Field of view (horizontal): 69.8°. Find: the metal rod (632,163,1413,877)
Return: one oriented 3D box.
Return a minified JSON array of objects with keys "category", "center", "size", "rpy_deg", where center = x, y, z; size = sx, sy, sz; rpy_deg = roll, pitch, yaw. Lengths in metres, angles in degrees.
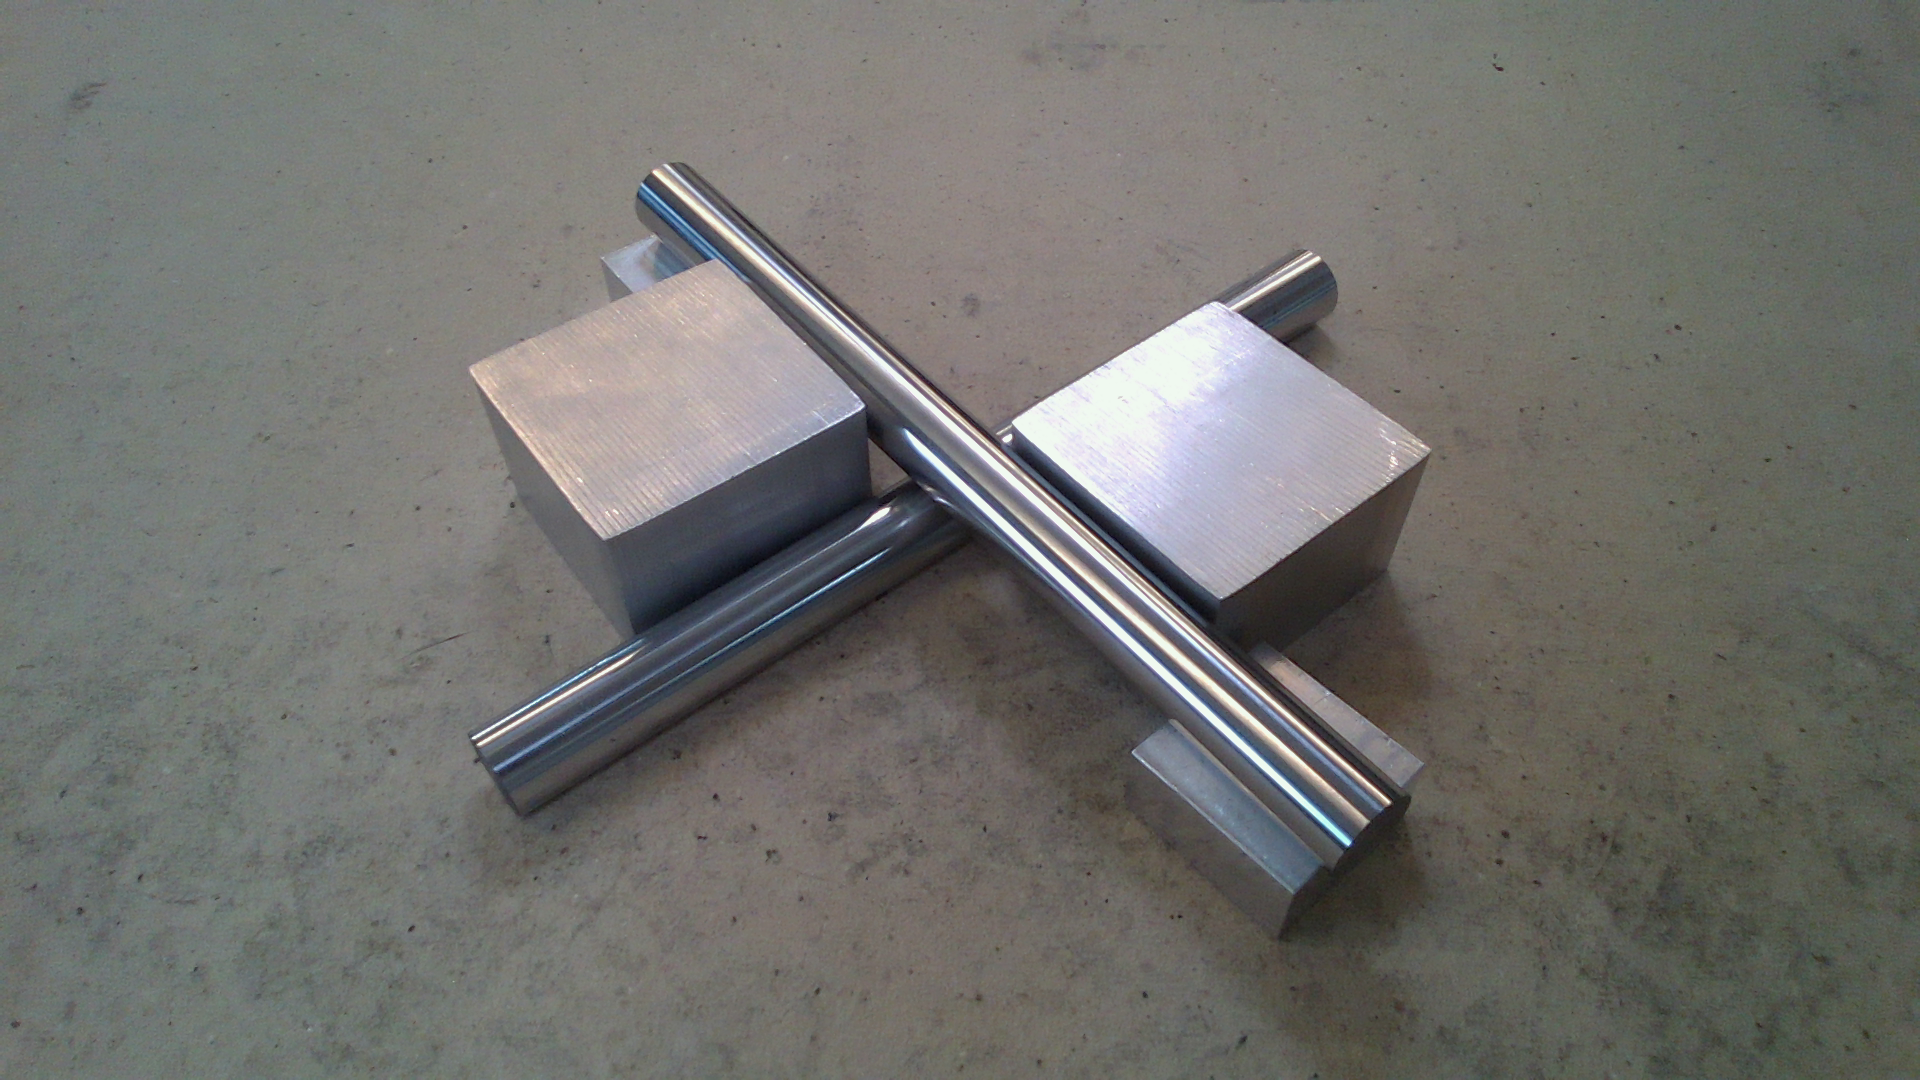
[{"category":"metal rod","center":[-0.003,-0.024,0.378],"size":[0.025,0.025,0.299],"rpy_deg":[-32,57,-24]}]

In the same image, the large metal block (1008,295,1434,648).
[{"category":"large metal block","center":[0.069,-0.013,0.386],"size":[0.080,0.050,0.080],"rpy_deg":[-32,57,-24]}]

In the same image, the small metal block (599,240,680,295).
[{"category":"small metal block","center":[-0.084,-0.081,0.461],"size":[0.050,0.025,0.050],"rpy_deg":[-30,56,-23]}]

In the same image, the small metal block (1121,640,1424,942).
[{"category":"small metal block","center":[0.076,0.061,0.341],"size":[0.050,0.025,0.050],"rpy_deg":[-36,58,-26]}]

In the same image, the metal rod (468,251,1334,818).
[{"category":"metal rod","center":[0.000,-0.014,0.404],"size":[0.301,0.025,0.025],"rpy_deg":[-32,57,-24]}]

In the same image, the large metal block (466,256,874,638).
[{"category":"large metal block","center":[-0.081,-0.026,0.395],"size":[0.080,0.050,0.080],"rpy_deg":[-30,56,-23]}]
